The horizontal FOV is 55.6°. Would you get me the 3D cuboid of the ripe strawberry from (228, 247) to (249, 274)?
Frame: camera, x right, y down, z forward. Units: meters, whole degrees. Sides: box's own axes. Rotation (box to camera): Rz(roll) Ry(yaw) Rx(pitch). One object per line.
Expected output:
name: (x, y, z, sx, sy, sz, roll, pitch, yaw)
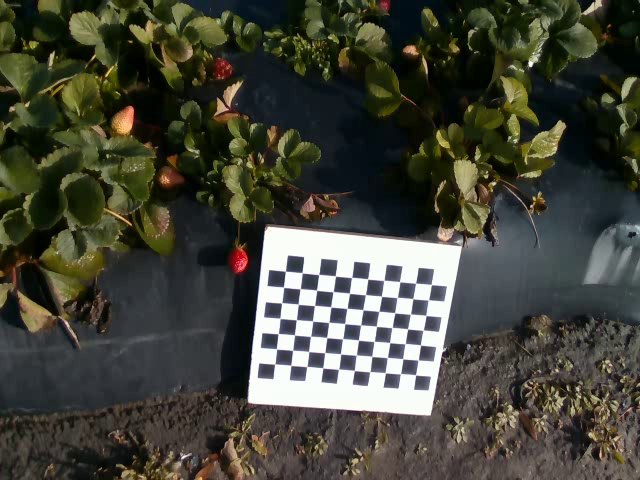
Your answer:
ripe strawberry: (-0.101, 0.029, 0.727, 0.035, 0.037, 0.033, 4, -39, -8)
